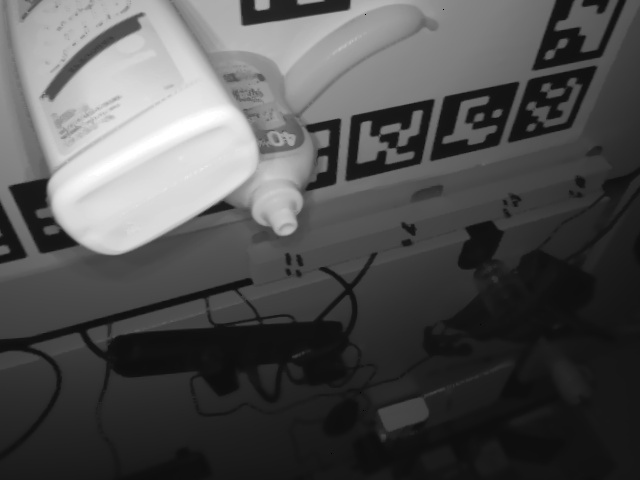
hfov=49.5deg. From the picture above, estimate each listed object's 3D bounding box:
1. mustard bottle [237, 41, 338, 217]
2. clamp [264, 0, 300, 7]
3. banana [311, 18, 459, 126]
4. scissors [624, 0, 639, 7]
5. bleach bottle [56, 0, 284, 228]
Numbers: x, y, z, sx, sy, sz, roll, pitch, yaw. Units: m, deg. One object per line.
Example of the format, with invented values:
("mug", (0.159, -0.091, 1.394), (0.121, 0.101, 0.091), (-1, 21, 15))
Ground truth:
("mustard bottle", (-0.037, -0.092, 0.583), (0.097, 0.192, 0.057), (-1, 137, -25))
("clamp", (-0.116, -0.221, 0.482), (0.204, 0.037, 0.164), (-16, 139, -10))
("banana", (0.043, -0.153, 0.664), (0.196, 0.039, 0.075), (-37, 157, 15))
("scissors", (0.214, -0.216, 0.546), (0.205, 0.016, 0.086), (10, 127, -30))
("bleach bottle", (-0.117, -0.128, 0.420), (0.103, 0.250, 0.067), (-29, 147, -5))
